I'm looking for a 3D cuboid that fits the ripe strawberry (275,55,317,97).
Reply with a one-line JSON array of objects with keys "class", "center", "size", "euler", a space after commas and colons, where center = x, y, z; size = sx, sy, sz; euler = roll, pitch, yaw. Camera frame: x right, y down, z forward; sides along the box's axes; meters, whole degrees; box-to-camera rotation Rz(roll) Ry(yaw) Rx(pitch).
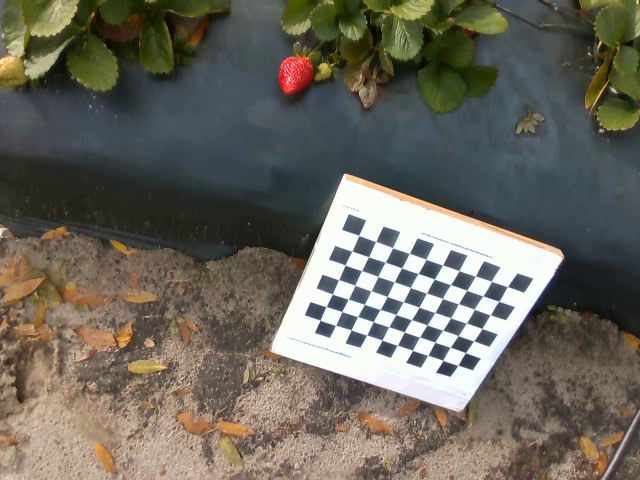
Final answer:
[{"class": "ripe strawberry", "center": [-0.030, -0.191, 0.645], "size": [0.045, 0.058, 0.051], "euler": [22, -23, -8]}]
